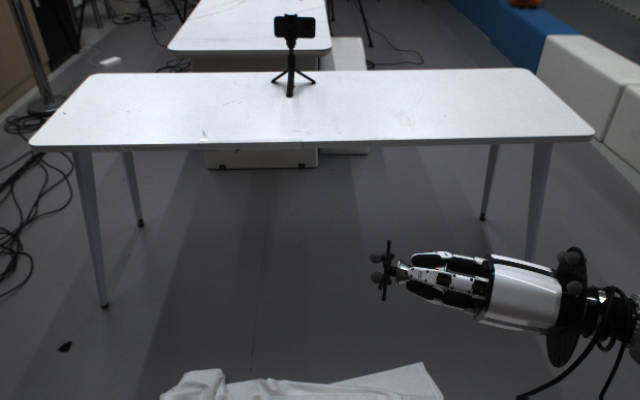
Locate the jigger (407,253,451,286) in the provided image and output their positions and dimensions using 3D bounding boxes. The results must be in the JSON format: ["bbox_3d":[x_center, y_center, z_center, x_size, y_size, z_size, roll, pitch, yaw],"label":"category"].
[{"bbox_3d":[0.154,0.103,0.695,0.071,0.043,0.043,4,34,18],"label":"jigger"}]
